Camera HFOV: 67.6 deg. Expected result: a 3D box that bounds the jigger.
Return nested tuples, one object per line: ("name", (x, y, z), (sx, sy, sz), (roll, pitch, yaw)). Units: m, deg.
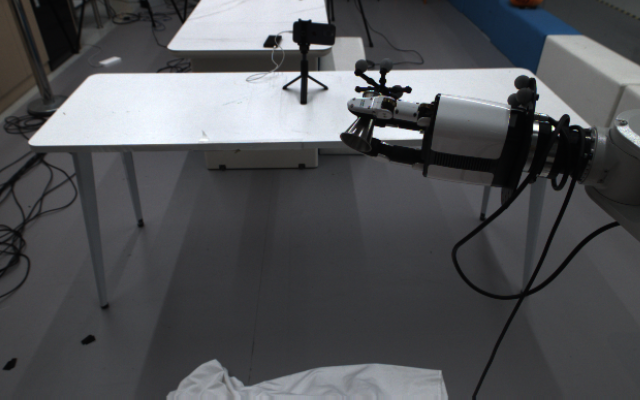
("jigger", (0.059, -0.104, 0.624), (0.043, 0.043, 0.071), (20, 73, 24))
